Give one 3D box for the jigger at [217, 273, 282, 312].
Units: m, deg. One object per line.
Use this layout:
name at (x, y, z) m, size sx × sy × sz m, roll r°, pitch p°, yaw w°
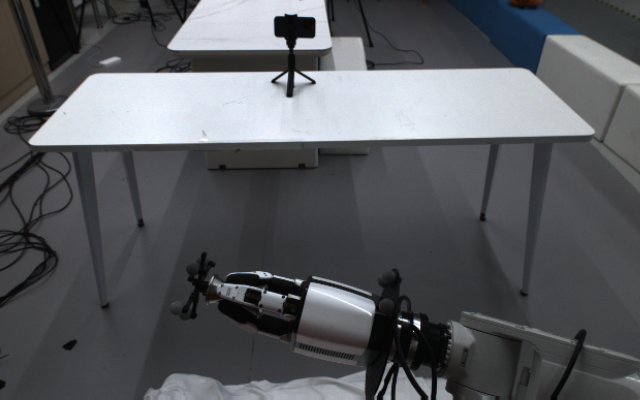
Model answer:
jigger at (-0.097, 0.117, 0.606) m, size 0.071 × 0.043 × 0.043 m, roll 13°, pitch 36°, yaw 4°
